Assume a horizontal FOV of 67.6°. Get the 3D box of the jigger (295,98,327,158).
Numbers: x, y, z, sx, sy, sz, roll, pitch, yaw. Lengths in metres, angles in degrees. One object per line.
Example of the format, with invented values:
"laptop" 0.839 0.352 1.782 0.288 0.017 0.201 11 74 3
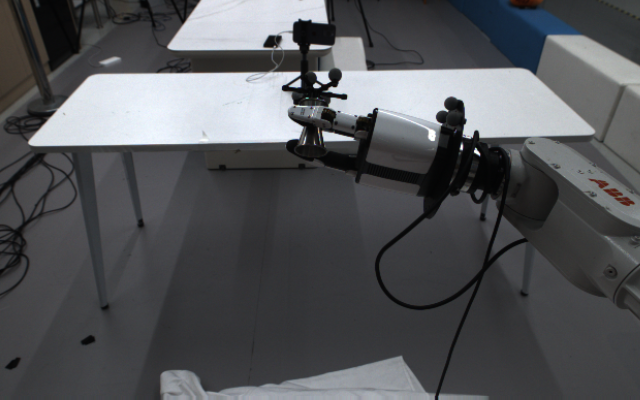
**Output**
"jigger" -0.012 -0.097 0.642 0.043 0.043 0.071 3 75 2
